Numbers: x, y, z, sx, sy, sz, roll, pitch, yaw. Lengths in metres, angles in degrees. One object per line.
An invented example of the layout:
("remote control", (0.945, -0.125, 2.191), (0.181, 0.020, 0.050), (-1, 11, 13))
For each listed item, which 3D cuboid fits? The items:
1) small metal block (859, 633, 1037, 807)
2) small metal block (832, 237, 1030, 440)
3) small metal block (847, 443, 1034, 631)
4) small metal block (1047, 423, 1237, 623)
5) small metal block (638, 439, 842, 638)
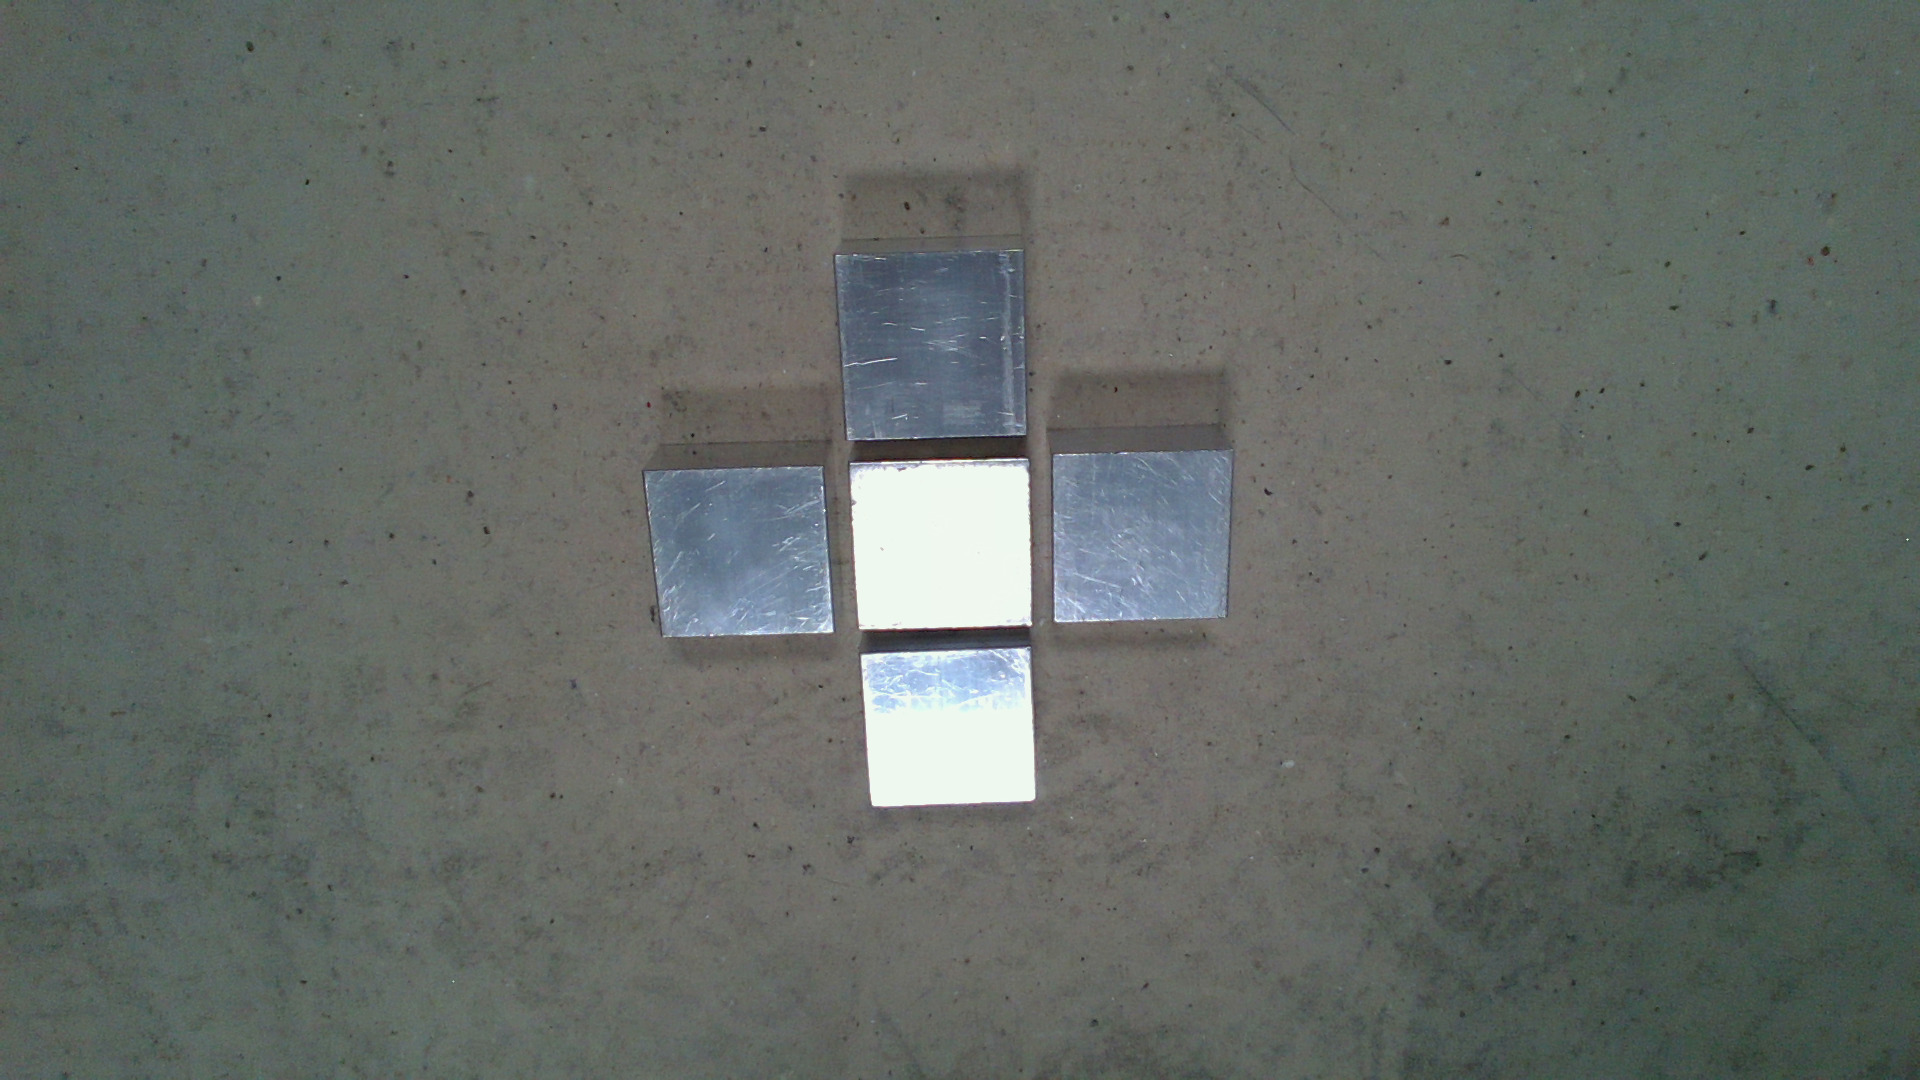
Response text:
("small metal block", (-0.003, 0.051, 0.413), (0.050, 0.025, 0.050), (-2, 110, 1))
("small metal block", (-0.007, -0.055, 0.374), (0.050, 0.025, 0.050), (-2, 110, 0))
("small metal block", (-0.005, -0.003, 0.393), (0.050, 0.025, 0.050), (-2, 110, 0))
("small metal block", (0.051, -0.005, 0.393), (0.050, 0.025, 0.050), (-2, 110, 0))
("small metal block", (-0.061, -0.001, 0.394), (0.050, 0.025, 0.050), (-2, 110, 0))
